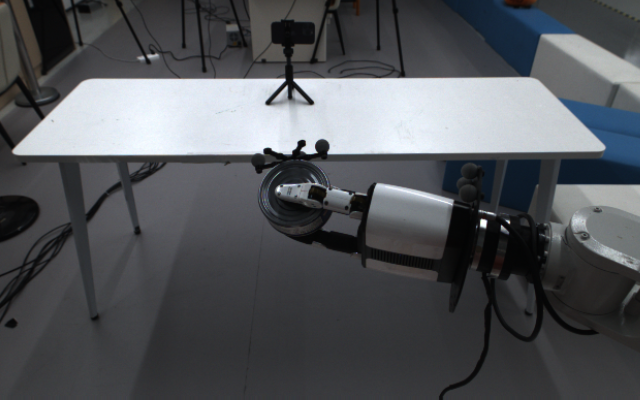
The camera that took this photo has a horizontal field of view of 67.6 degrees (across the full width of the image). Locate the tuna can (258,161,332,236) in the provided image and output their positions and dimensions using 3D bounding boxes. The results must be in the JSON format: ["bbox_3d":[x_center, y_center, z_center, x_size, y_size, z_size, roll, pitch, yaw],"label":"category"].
[{"bbox_3d":[-0.023,0.002,0.558,0.085,0.034,0.085,-4,68,9],"label":"tuna can"}]
